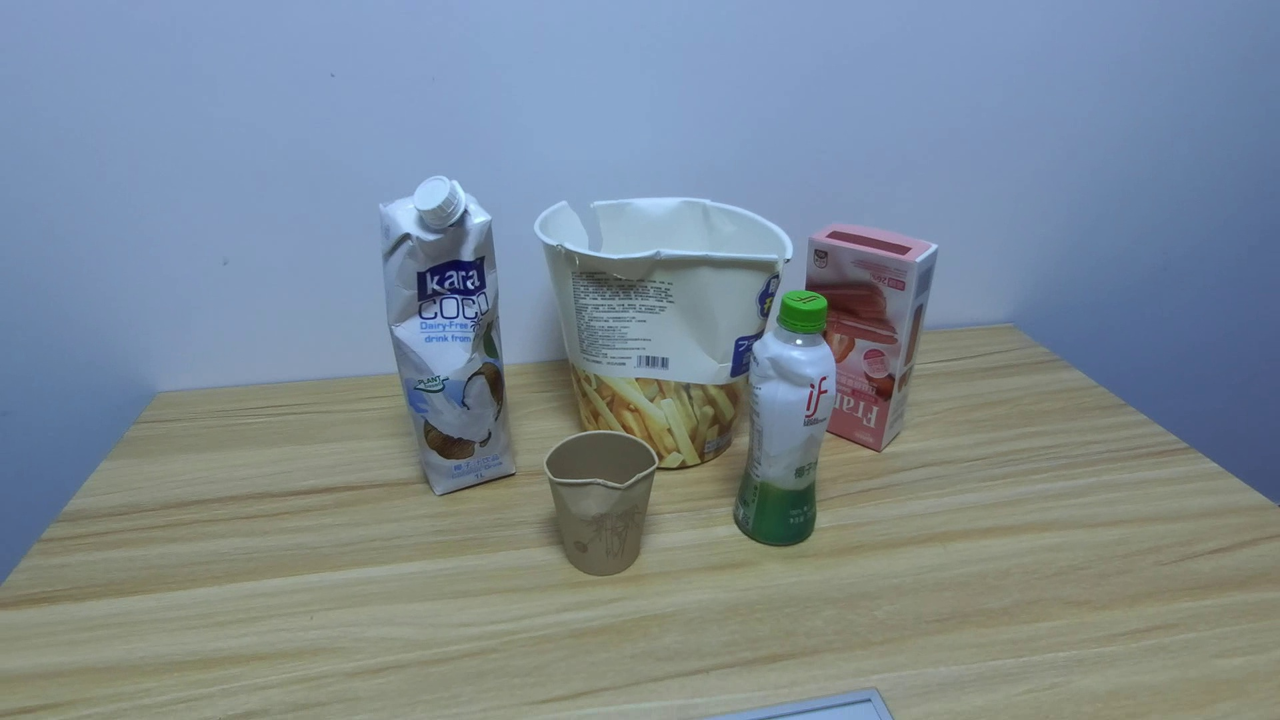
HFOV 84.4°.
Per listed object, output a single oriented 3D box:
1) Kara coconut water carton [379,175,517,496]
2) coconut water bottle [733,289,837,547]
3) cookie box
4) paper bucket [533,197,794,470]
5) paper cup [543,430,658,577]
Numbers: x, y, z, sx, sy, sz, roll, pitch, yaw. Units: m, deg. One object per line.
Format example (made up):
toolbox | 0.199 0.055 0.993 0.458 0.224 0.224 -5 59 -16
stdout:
Kara coconut water carton | -0.150 -0.018 0.551 0.083 0.256 0.078 -6 31 -14
coconut water bottle | 0.107 0.042 0.505 0.069 0.186 0.069 1 29 0
cookie box | 0.189 -0.021 0.626 0.104 0.187 0.049 22 36 33
paper bucket | 0.015 -0.028 0.622 0.203 0.197 0.145 0 28 -1
paper cup | -0.028 0.103 0.504 0.068 0.081 0.074 24 36 37
